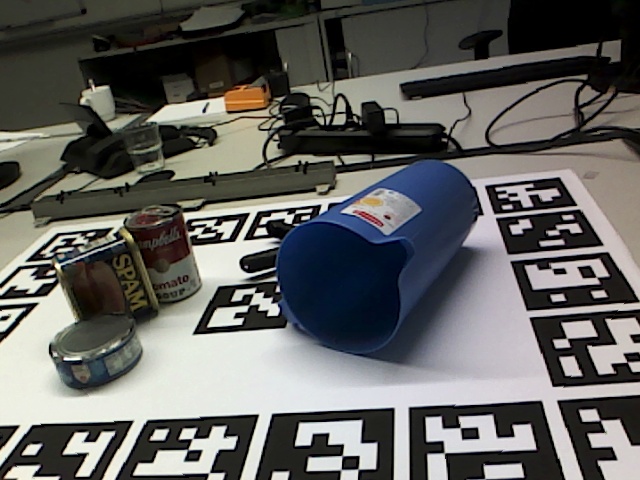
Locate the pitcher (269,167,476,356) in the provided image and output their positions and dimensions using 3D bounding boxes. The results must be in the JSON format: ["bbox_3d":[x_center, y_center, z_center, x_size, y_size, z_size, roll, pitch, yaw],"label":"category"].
[{"bbox_3d":[0.066,0.009,0.647,0.190,0.133,0.241,-20,9,37],"label":"pitcher"}]

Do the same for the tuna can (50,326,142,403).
[{"bbox_3d":[-0.228,0.127,0.637,0.086,0.033,0.086,-9,27,4],"label":"tuna can"}]

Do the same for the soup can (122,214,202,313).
[{"bbox_3d":[-0.189,0.028,0.751,0.068,0.101,0.068,-11,27,5],"label":"soup can"}]

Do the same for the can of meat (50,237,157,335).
[{"bbox_3d":[-0.244,0.060,0.697,0.083,0.101,0.058,-25,30,-20],"label":"can of meat"}]

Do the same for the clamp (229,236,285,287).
[{"bbox_3d":[-0.022,0.023,0.791,0.165,0.036,0.122,-2,23,11],"label":"clamp"}]
